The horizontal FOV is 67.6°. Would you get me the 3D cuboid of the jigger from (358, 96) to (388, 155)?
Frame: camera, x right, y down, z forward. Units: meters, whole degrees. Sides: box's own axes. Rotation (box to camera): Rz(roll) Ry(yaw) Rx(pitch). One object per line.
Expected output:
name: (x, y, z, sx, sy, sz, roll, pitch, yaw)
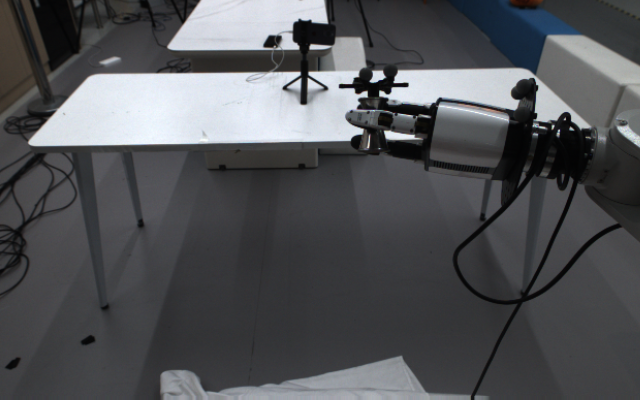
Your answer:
jigger: (0.069, -0.097, 0.632, 0.043, 0.071, 0.043, -1, 2, 0)
